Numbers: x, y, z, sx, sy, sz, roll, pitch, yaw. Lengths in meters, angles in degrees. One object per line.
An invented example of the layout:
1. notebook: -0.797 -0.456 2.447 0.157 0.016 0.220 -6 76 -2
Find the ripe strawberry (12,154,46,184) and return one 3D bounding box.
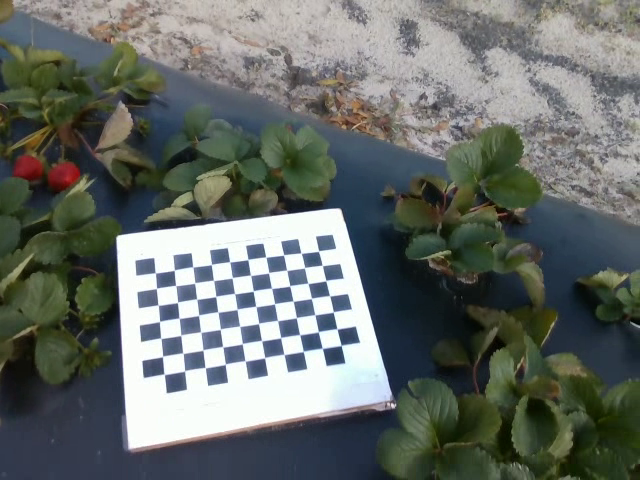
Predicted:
1. ripe strawberry: -0.462 -0.111 0.942 0.048 0.041 0.056 5 33 -3

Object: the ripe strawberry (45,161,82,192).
1. ripe strawberry: -0.400 -0.102 0.936 0.057 0.051 0.064 -25 30 -22
